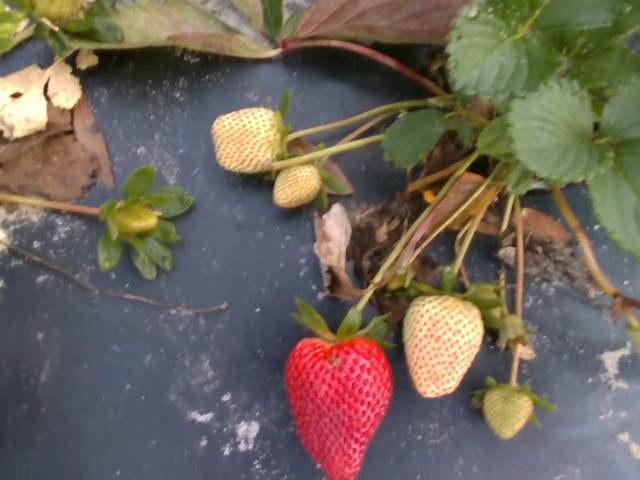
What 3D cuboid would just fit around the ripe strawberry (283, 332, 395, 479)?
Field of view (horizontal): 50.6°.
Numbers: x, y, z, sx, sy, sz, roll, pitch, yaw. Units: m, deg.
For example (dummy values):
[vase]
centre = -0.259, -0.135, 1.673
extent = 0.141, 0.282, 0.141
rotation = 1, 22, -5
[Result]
[ripe strawberry]
centre = 0.007, 0.061, 0.250
extent = 0.050, 0.059, 0.034
rotation = -3, -28, -5
